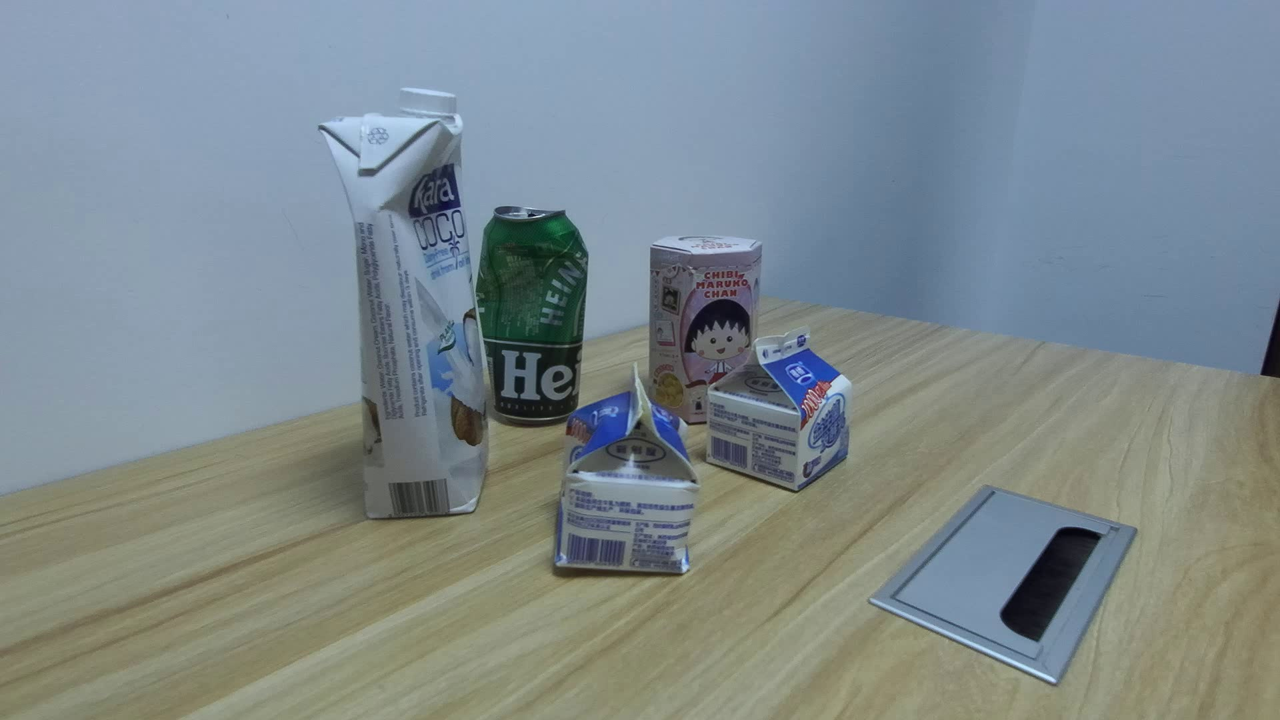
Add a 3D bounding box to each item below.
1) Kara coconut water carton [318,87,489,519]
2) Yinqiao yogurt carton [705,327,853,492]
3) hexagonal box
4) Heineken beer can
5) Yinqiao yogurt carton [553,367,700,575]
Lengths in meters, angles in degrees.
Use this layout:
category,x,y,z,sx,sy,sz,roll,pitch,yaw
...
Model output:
category,x,y,z,sx,sy,sz,roll,pitch,yaw
Kara coconut water carton,-0.130,-0.030,0.411,0.069,0.238,0.115,0,18,-4
Yinqiao yogurt carton,0.094,0.025,0.472,0.073,0.092,0.076,12,19,39
hexagonal box,0.052,-0.026,0.561,0.091,0.136,0.083,-4,17,-13
Heineken beer can,-0.085,-0.033,0.549,0.066,0.164,0.077,-10,21,-31
Yinqiao yogurt carton,-0.007,0.055,0.375,0.071,0.094,0.077,4,17,-4
